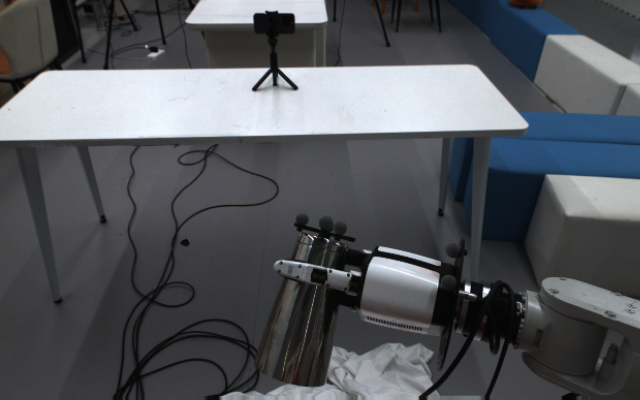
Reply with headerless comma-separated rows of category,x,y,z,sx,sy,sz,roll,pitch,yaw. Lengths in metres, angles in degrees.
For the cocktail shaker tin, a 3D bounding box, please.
cocktail shaker tin,-0.016,0.130,0.609,0.093,0.170,0.093,15,-5,1
